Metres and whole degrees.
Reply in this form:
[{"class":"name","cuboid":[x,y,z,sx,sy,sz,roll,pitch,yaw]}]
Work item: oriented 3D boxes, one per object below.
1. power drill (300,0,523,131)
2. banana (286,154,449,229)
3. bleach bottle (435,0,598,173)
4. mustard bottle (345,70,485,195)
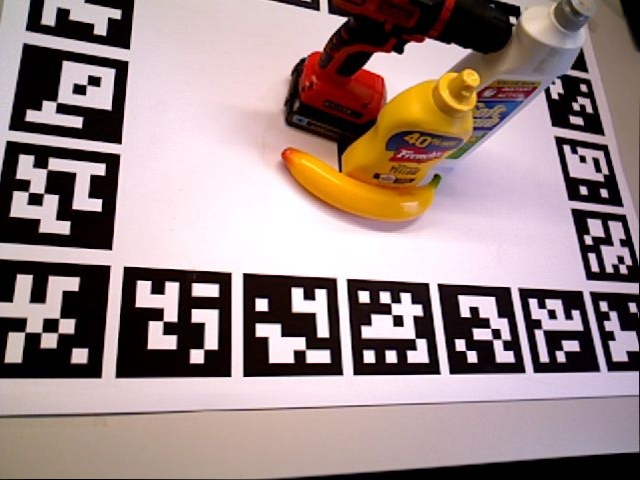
[{"class":"power drill","cuboid":[0.071,-0.185,0.533,0.183,0.191,0.056,18,64,-16]},{"class":"banana","cuboid":[0.056,-0.052,0.603,0.195,0.039,0.073,9,70,-15]},{"class":"bleach bottle","cuboid":[0.176,-0.164,0.561,0.101,0.256,0.067,8,63,-19]},{"class":"mustard bottle","cuboid":[0.104,-0.107,0.542,0.095,0.195,0.058,6,69,-20]}]
